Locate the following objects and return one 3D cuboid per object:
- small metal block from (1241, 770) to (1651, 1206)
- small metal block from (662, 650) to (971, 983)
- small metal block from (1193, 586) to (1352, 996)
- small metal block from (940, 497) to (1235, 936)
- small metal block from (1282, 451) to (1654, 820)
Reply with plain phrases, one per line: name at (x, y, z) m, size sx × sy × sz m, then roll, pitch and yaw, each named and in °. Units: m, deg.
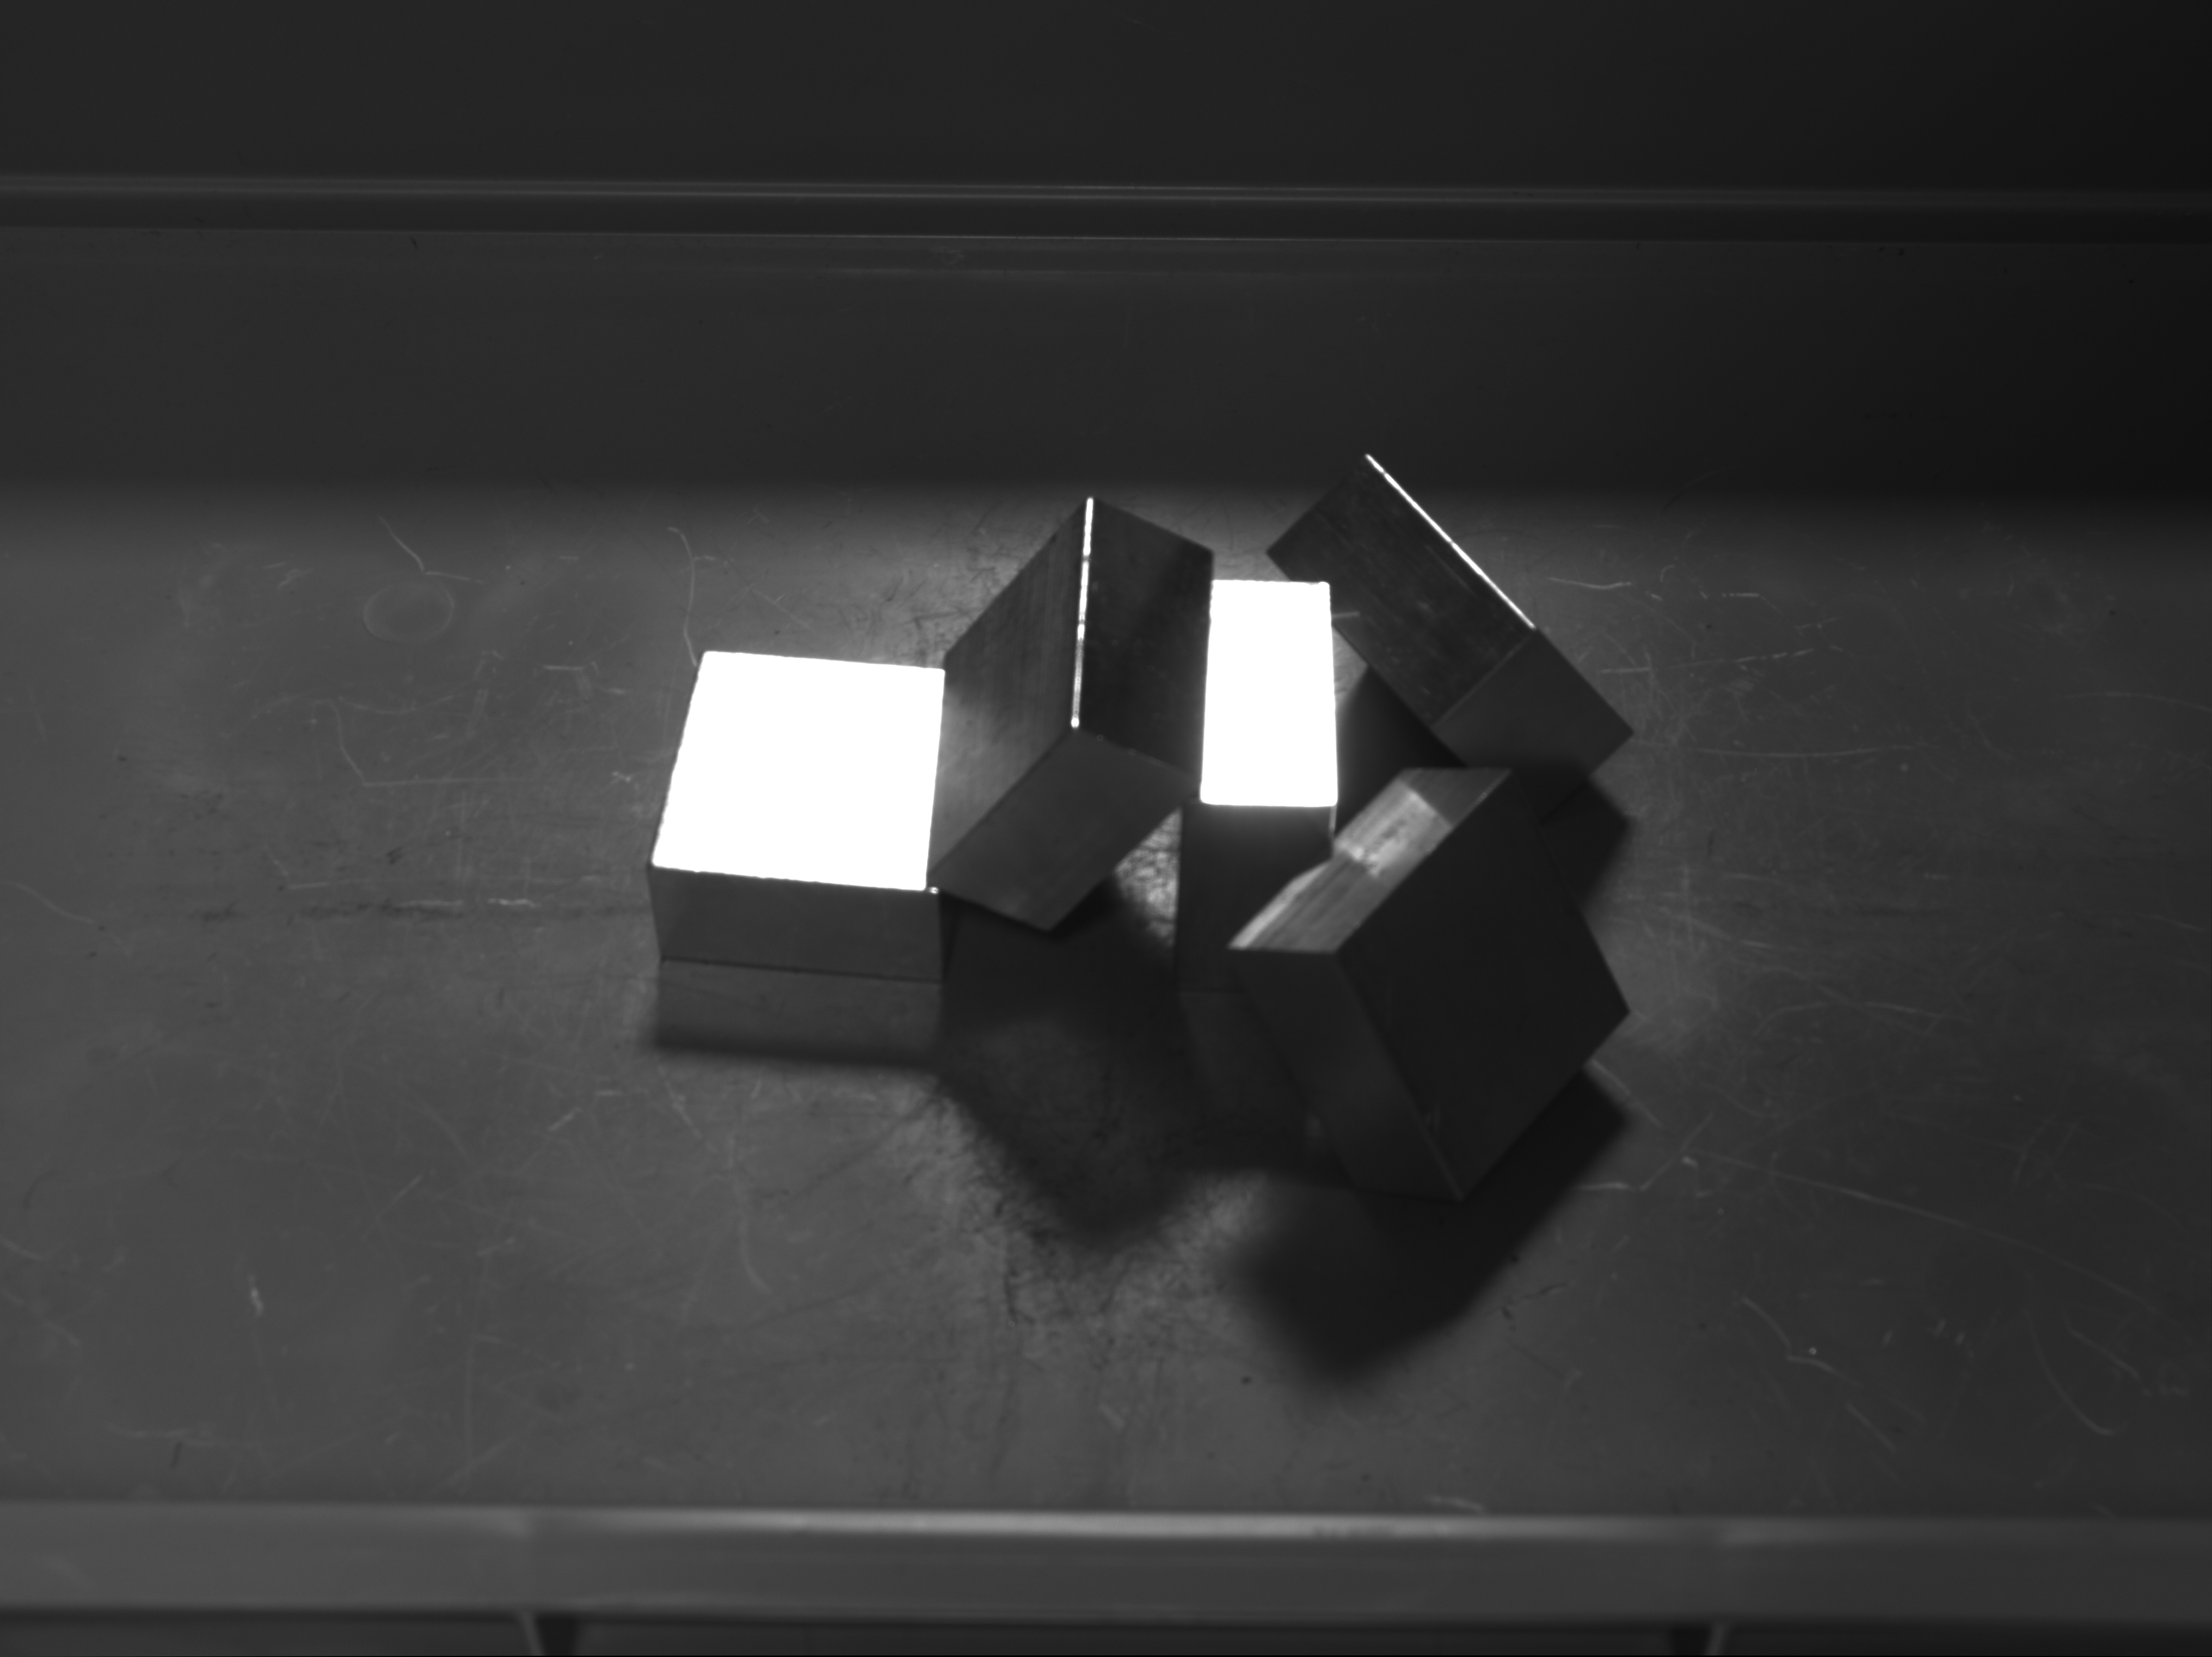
small metal block at (0.056, 0.025, 0.599) m, size 0.025 × 0.050 × 0.050 m, roll 1°, pitch 37°, yaw 50°
small metal block at (-0.047, -0.002, 0.641) m, size 0.050 × 0.025 × 0.050 m, roll 5°, pitch 50°, yaw 4°
small metal block at (0.028, -0.006, 0.630) m, size 0.025 × 0.050 × 0.050 m, roll 1°, pitch 50°, yaw 1°
small metal block at (-0.003, -0.018, 0.616) m, size 0.025 × 0.050 × 0.050 m, roll 22°, pitch 49°, yaw -23°
small metal block at (0.064, -0.033, 0.649) m, size 0.025 × 0.050 × 0.050 m, roll -44°, pitch 57°, yaw 7°
